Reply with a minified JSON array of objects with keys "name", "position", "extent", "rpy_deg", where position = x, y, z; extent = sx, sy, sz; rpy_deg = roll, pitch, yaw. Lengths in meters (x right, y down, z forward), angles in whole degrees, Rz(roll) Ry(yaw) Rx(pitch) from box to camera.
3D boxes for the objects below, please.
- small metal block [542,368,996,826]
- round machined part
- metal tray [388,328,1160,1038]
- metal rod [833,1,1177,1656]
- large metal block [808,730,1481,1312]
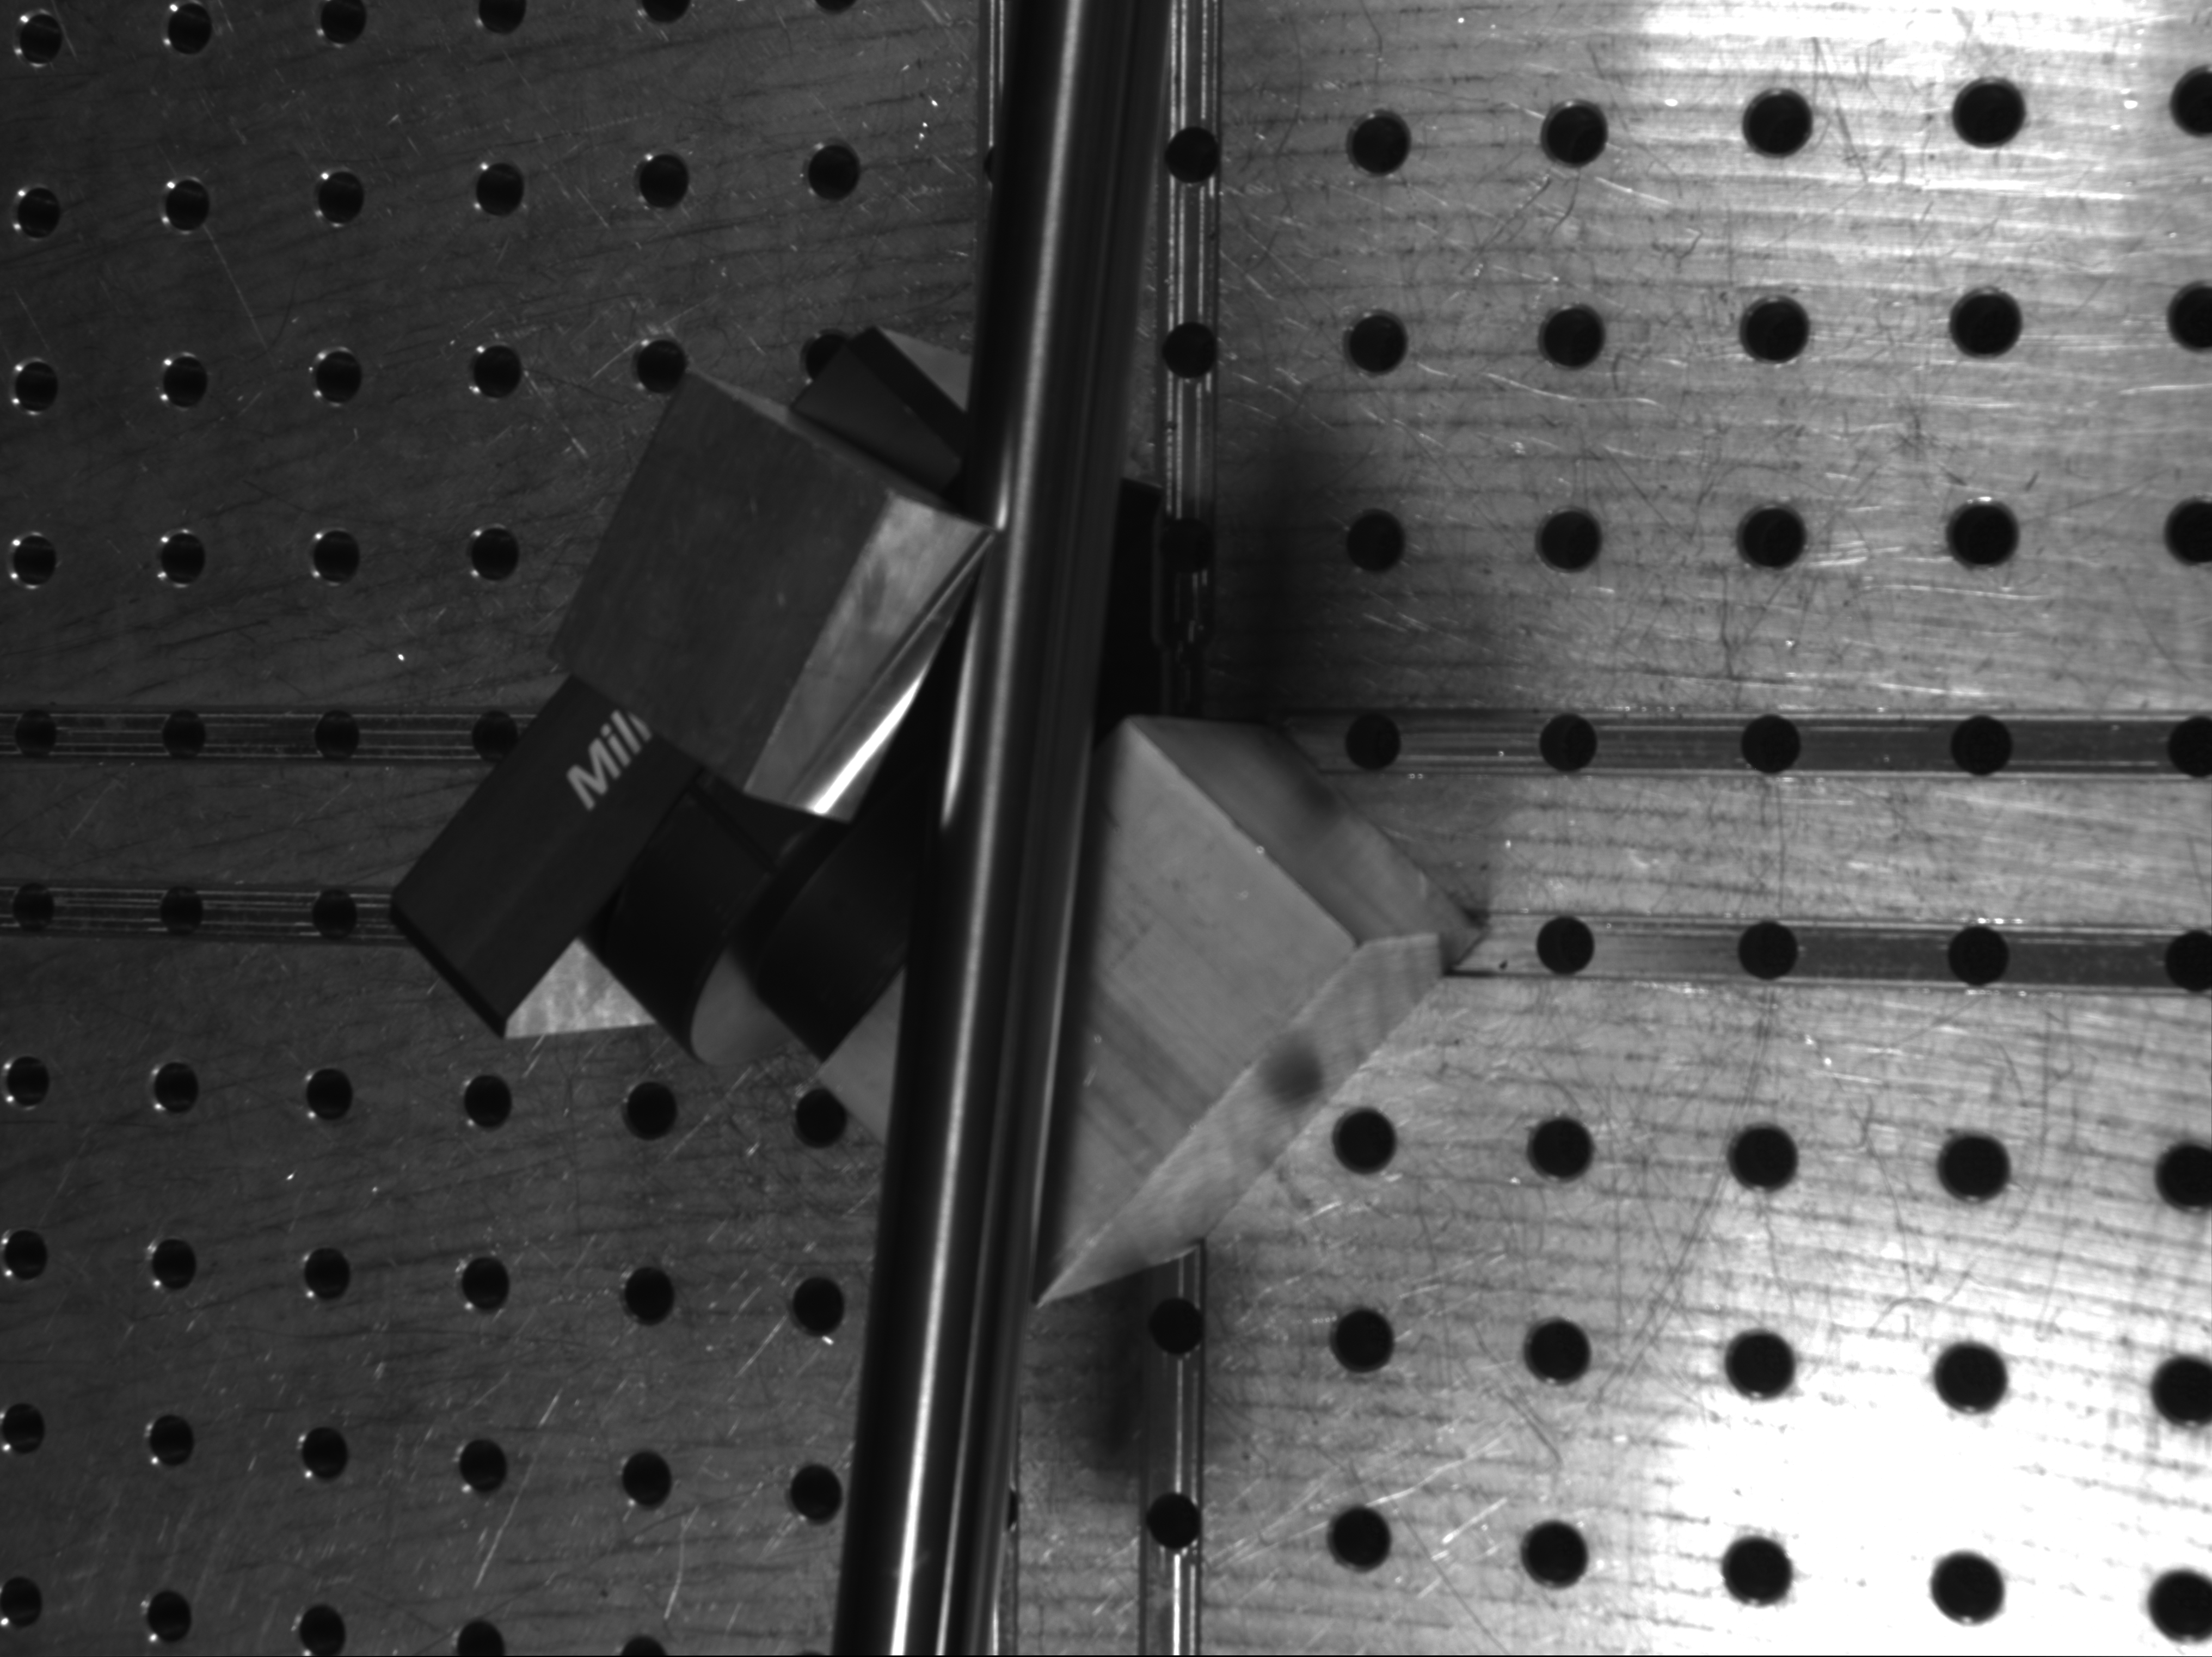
[{"name":"small metal block","position":[-0.052,-0.036,0.562],"extent":[0.050,0.025,0.050],"rpy_deg":[33,99,36]},{"name":"round machined part","position":[-0.034,0.003,0.624],"extent":[0.042,0.098,0.098],"rpy_deg":[44,103,15]},{"name":"metal tray","position":[-0.055,-0.022,0.632],"extent":[0.030,0.090,0.130],"rpy_deg":[45,104,15]},{"name":"metal rod","position":[-0.017,0.015,0.568],"extent":[0.025,0.025,0.300],"rpy_deg":[7,92,20]},{"name":"large metal block","position":[0.008,0.031,0.611],"extent":[0.050,0.080,0.080],"rpy_deg":[45,104,14]}]
